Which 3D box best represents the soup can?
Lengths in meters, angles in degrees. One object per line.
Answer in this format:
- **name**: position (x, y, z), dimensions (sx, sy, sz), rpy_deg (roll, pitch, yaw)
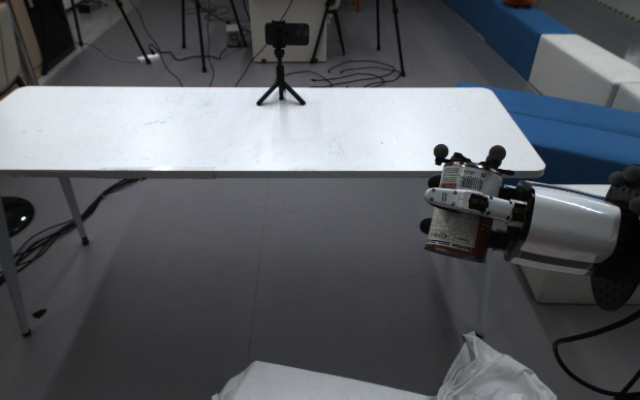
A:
- **soup can**: position (0.163, 0.011, 0.553), dimensions (0.067, 0.101, 0.067), rpy_deg (14, -6, 2)
